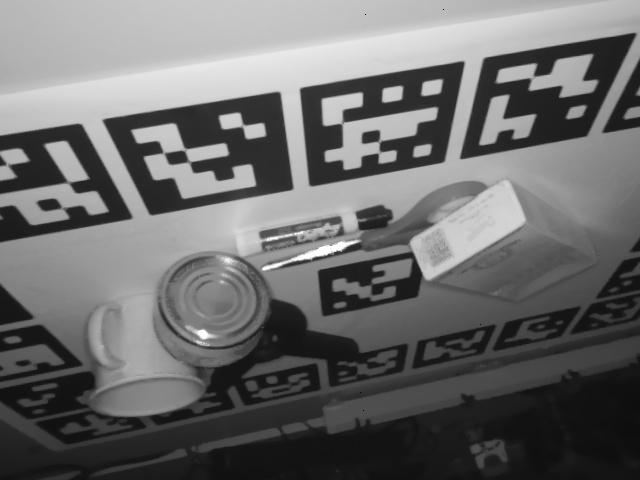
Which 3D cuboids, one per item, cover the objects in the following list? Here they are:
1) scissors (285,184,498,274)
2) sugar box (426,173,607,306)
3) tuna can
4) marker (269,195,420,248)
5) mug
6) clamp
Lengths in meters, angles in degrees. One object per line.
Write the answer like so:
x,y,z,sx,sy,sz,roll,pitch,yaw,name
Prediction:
0.068,0.002,0.590,0.202,0.016,0.087,-15,148,5,scissors
0.178,0.009,0.608,0.091,0.045,0.178,-33,146,26,sugar box
-0.072,0.049,0.555,0.086,0.086,0.033,0,142,-18,tuna can
0.020,-0.015,0.554,0.121,0.020,0.019,-13,143,-2,marker
-0.129,0.086,0.595,0.092,0.082,0.118,-27,146,19,mug
-0.039,0.099,0.693,0.165,0.037,0.202,-17,143,5,clamp
